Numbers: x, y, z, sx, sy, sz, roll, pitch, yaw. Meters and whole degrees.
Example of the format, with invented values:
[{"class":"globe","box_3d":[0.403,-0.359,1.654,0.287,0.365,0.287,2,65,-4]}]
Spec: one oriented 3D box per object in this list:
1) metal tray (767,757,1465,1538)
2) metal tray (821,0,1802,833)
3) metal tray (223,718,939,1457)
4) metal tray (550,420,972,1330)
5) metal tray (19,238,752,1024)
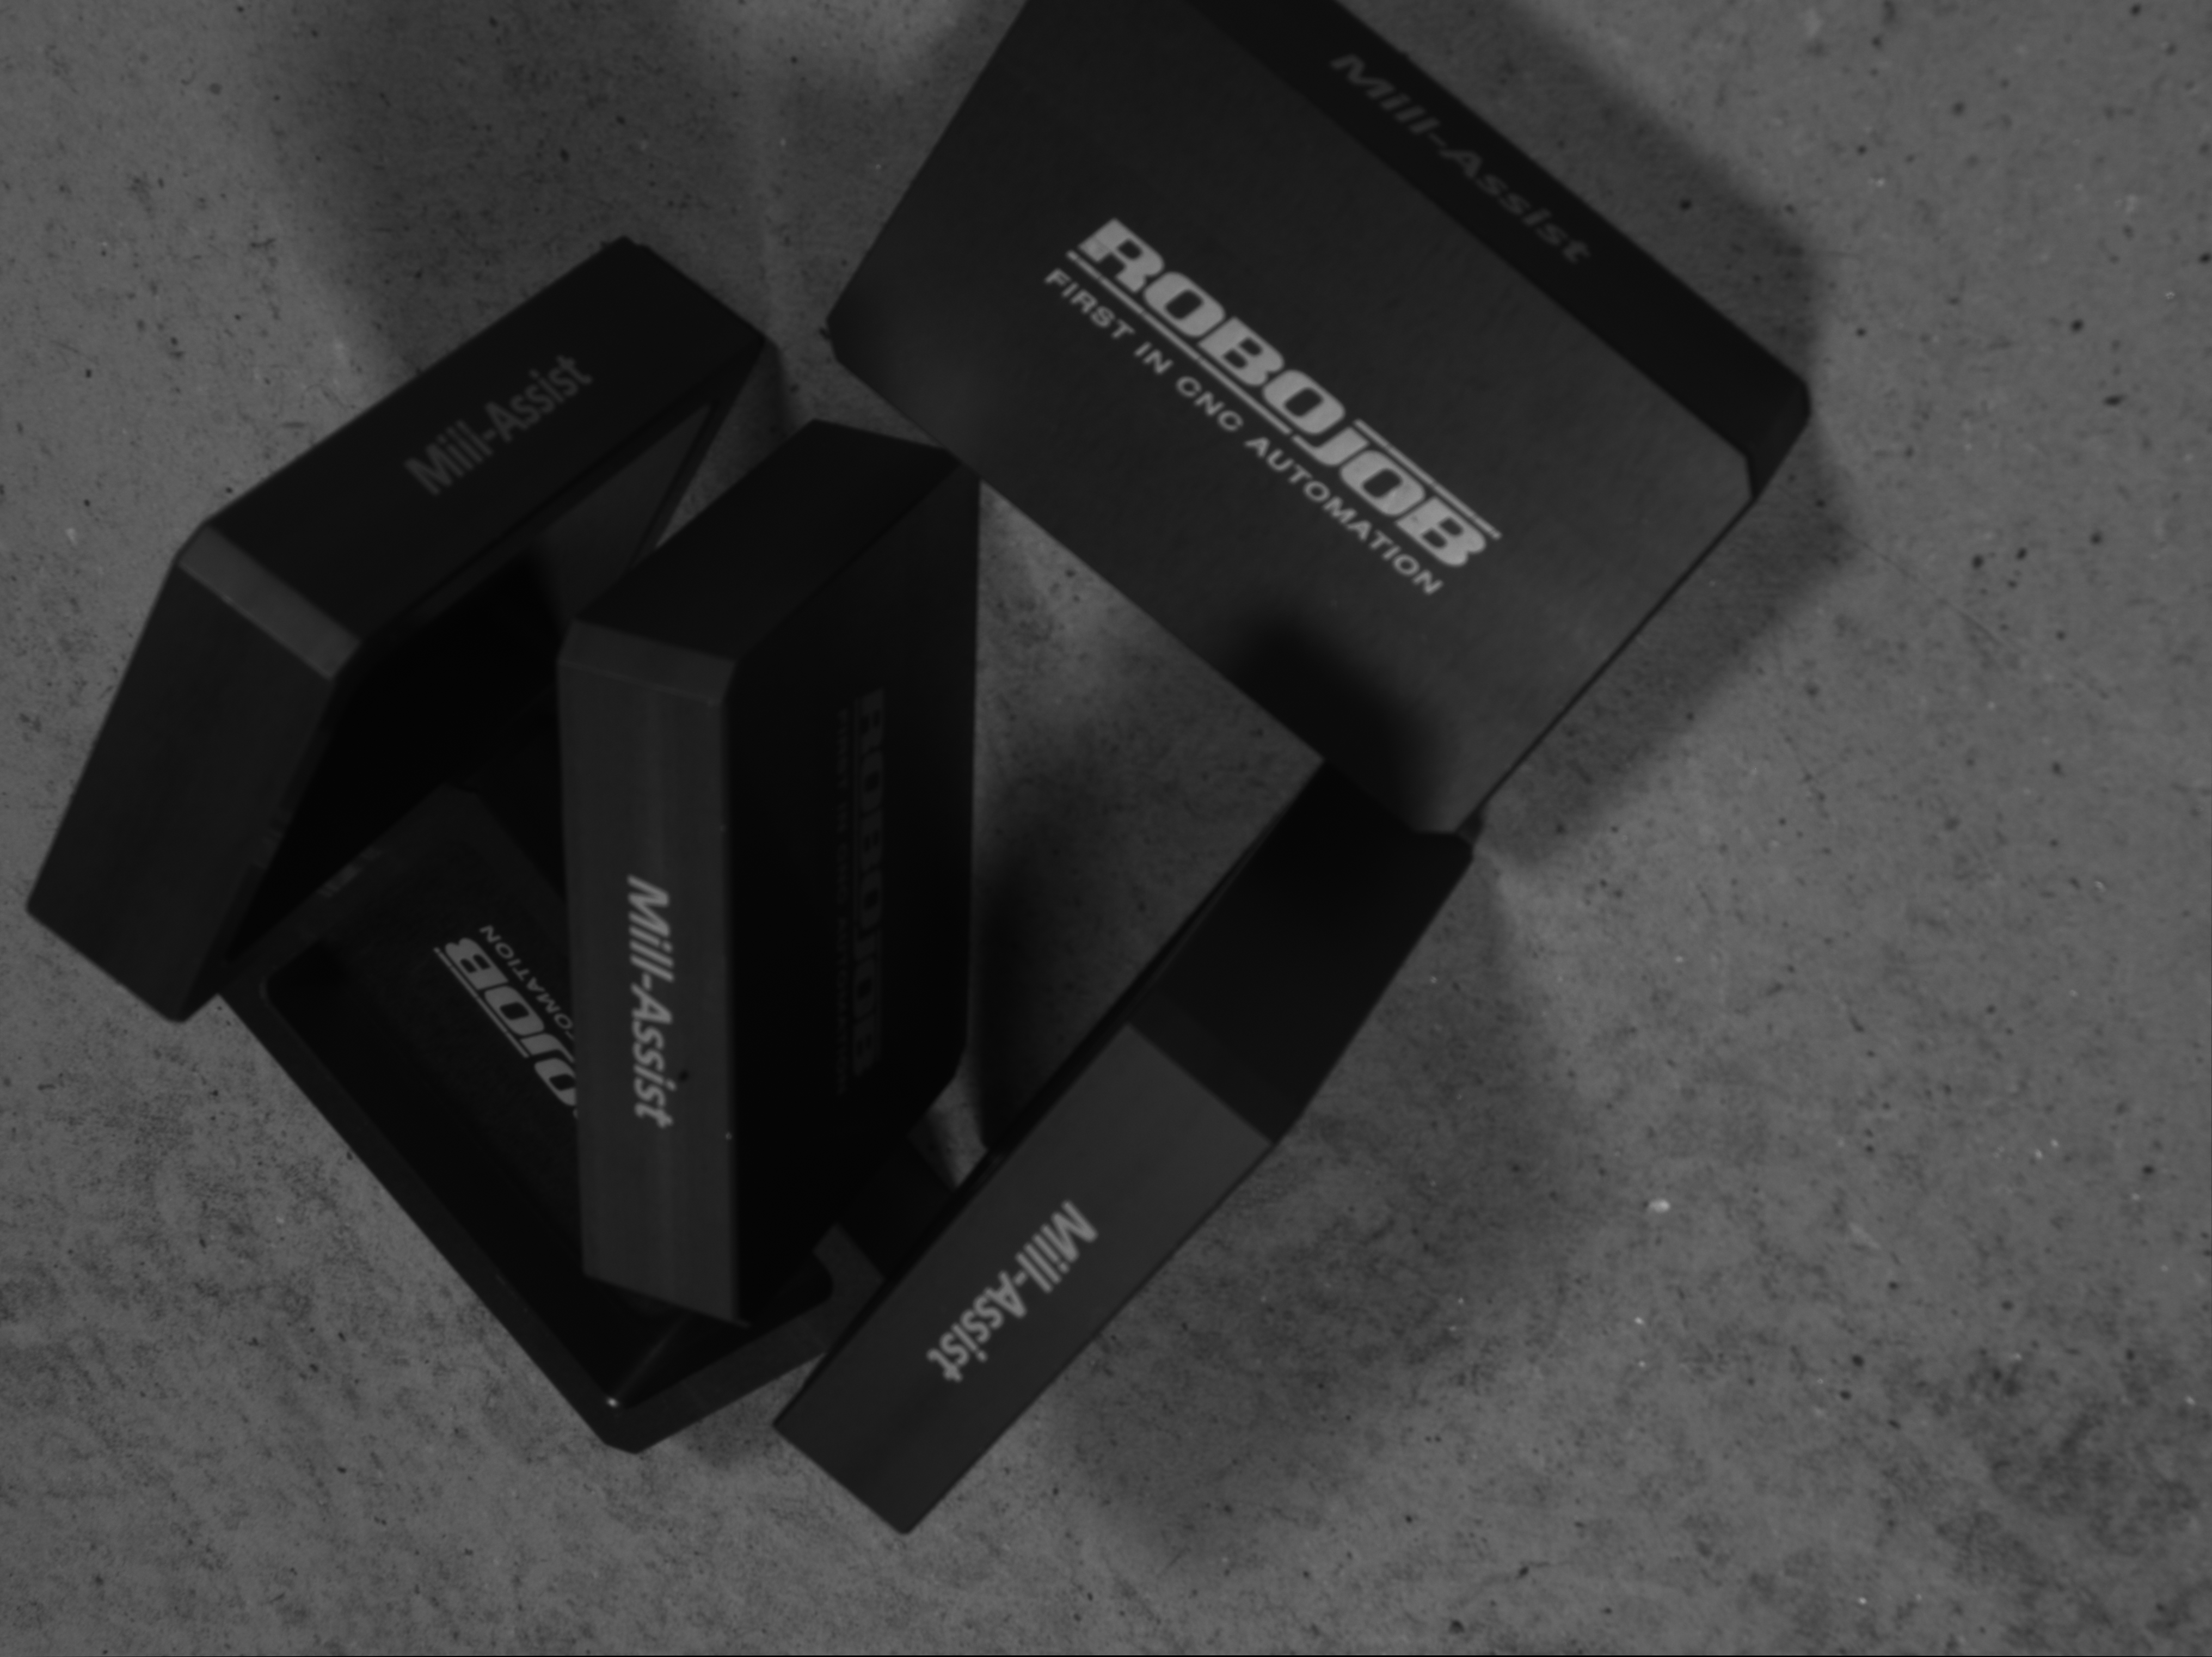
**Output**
[{"class":"metal tray","box_3d":[0.001,0.054,0.622,0.030,0.090,0.130,40,128,0]},{"class":"metal tray","box_3d":[0.030,-0.071,0.570,0.130,0.030,0.090,39,128,1]},{"class":"metal tray","box_3d":[-0.103,0.052,0.711,0.090,0.030,0.130,-32,101,37]},{"class":"metal tray","box_3d":[-0.057,0.008,0.622,0.030,0.090,0.130,15,124,18]},{"class":"metal tray","box_3d":[-0.116,-0.035,0.602,0.030,0.130,0.090,37,128,2]}]
